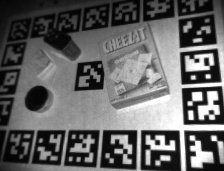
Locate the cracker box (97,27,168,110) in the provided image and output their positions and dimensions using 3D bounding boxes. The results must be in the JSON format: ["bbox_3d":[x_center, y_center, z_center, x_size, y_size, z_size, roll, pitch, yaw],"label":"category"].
[{"bbox_3d":[0.056,-0.055,0.654,0.163,0.073,0.212,-19,64,10],"label":"cracker box"}]

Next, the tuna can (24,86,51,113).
[{"bbox_3d":[-0.249,0.048,0.729,0.085,0.034,0.085,-5,72,18],"label":"tuna can"}]

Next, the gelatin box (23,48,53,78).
[{"bbox_3d":[-0.271,-0.083,0.790,0.088,0.030,0.073,41,84,24],"label":"gelatin box"}]

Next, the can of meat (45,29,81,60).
[{"bbox_3d":[-0.168,-0.140,0.756,0.100,0.084,0.058,28,81,27],"label":"can of meat"}]
